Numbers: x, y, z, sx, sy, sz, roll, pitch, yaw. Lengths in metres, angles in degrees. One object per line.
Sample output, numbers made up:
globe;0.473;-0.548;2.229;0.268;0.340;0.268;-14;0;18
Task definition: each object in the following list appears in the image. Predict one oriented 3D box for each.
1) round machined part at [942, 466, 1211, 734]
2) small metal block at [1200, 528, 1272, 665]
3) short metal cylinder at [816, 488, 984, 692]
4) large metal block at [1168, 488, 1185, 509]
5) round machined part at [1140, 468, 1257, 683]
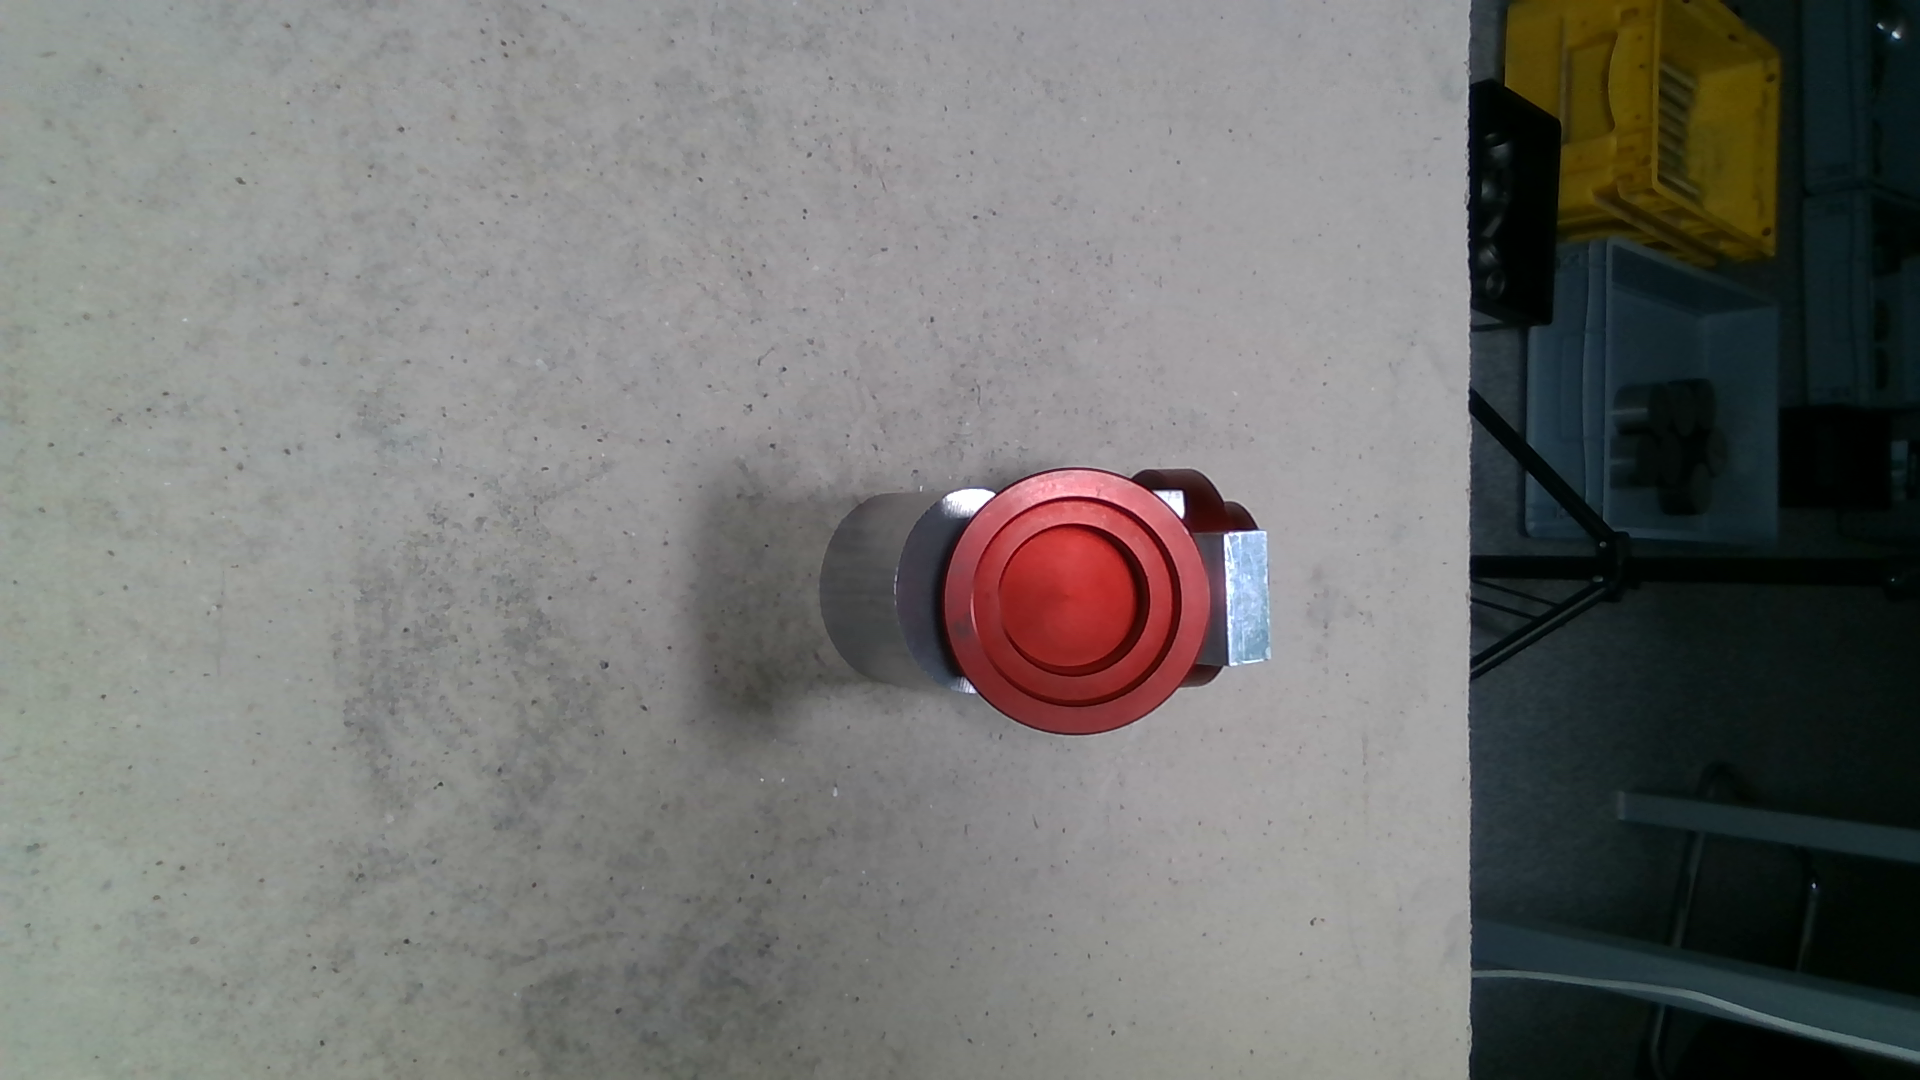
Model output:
round machined part;0.042;0.022;0.521;0.098;0.042;0.098;0;91;-2
small metal block;0.094;0.021;0.541;0.025;0.050;0.050;-4;92;-41
short metal cylinder;-0.011;0.020;0.559;0.080;0.050;0.080;0;90;-40
large metal block;0.050;0.019;0.588;0.050;0.080;0.080;-3;92;-40
round machined part;0.104;0.016;0.618;0.042;0.098;0.098;-2;92;-15
